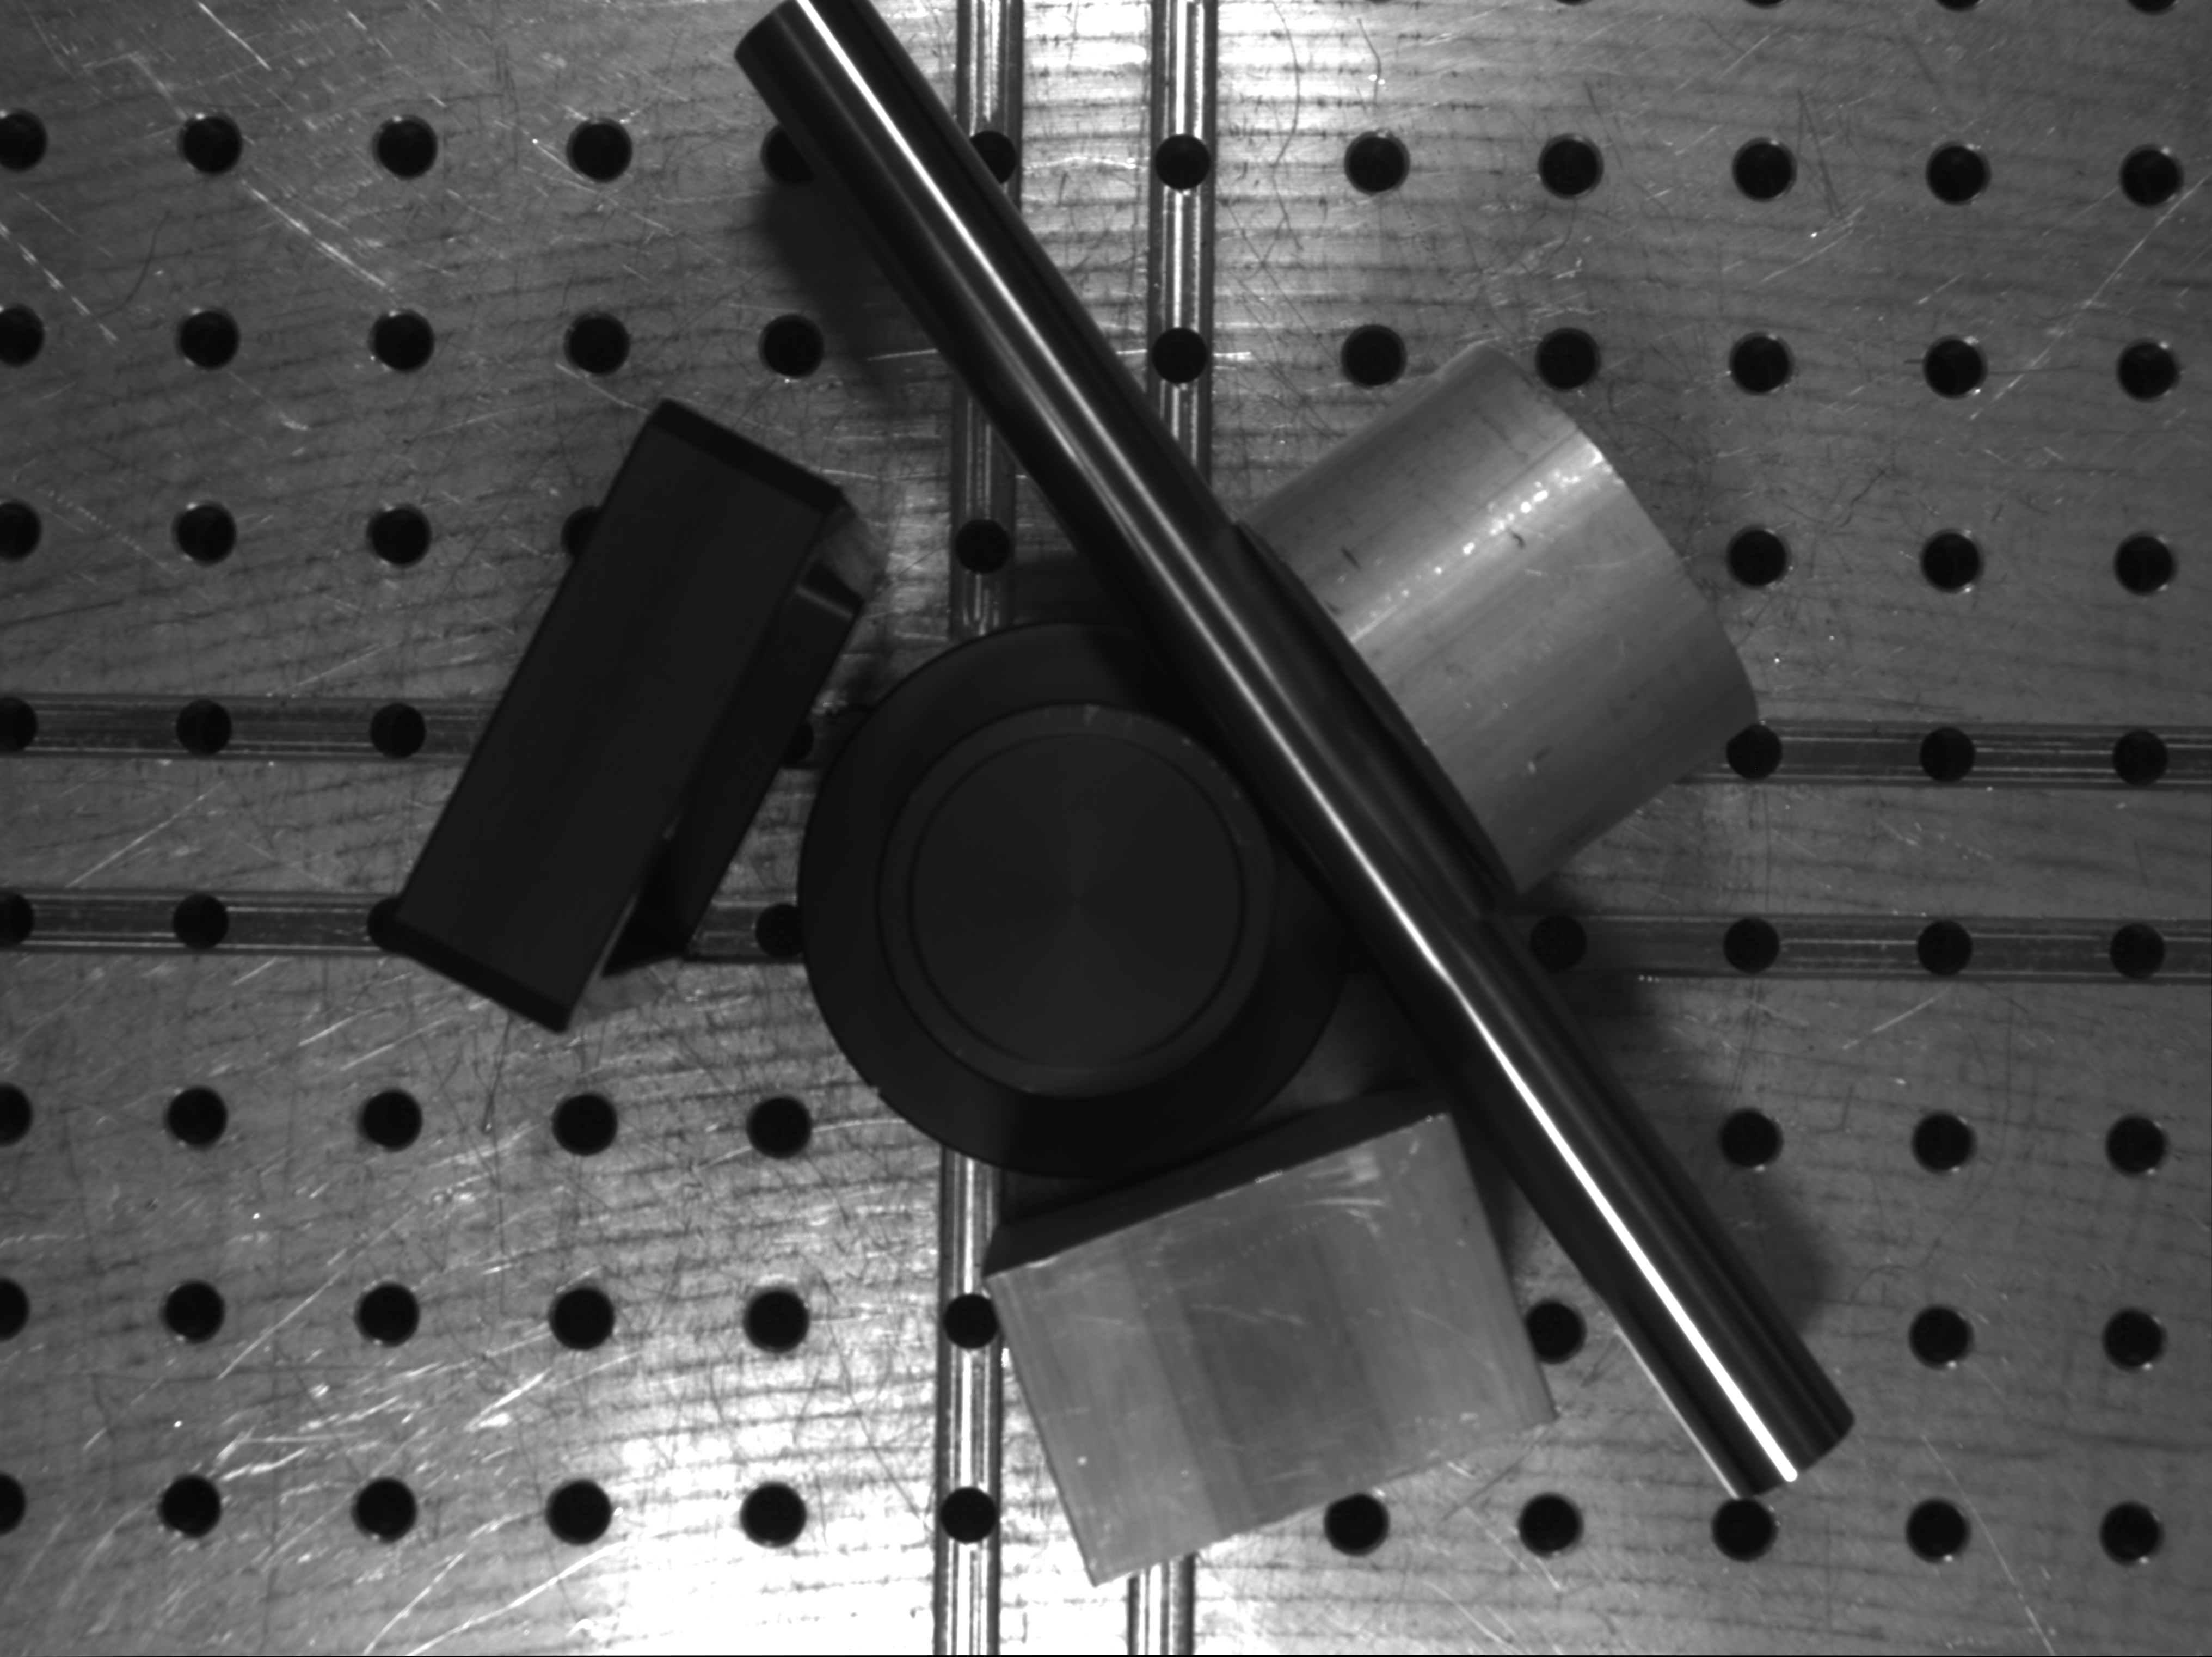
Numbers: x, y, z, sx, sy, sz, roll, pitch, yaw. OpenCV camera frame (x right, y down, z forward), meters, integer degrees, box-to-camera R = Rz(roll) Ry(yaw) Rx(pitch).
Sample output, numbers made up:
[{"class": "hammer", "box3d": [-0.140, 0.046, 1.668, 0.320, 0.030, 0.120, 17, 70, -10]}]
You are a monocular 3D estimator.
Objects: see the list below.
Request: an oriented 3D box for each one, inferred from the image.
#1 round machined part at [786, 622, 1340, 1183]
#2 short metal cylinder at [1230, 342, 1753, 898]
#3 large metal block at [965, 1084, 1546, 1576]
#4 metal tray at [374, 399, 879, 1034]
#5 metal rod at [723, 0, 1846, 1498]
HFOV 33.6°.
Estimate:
[{"class": "round machined part", "box3d": [-0.007, 0.013, 0.639, 0.098, 0.042, 0.098, 0, 90, 0]}, {"class": "short metal cylinder", "box3d": [0.065, -0.035, 0.620, 0.050, 0.080, 0.080, -37, 90, 0]}, {"class": "large metal block", "box3d": [0.024, 0.082, 0.620, 0.080, 0.080, 0.050, -19, 90, 0]}, {"class": "metal tray", "box3d": [-0.074, -0.016, 0.595, 0.030, 0.130, 0.090, 27, 90, 0]}, {"class": "metal rod", "box3d": [0.031, -0.016, 0.627, 0.025, 0.025, 0.300, -35, 90, 0]}]
